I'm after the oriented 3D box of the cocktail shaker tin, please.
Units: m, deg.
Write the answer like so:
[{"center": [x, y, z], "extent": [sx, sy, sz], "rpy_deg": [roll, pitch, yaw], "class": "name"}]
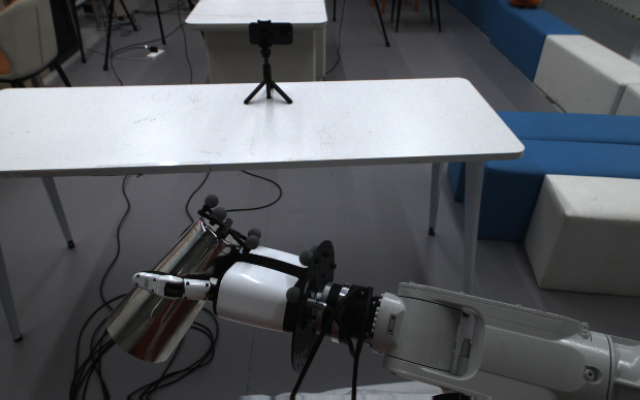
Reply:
[{"center": [-0.174, 0.104, 0.609], "extent": [0.170, 0.093, 0.093], "rpy_deg": [-50, 45, 5], "class": "cocktail shaker tin"}]
